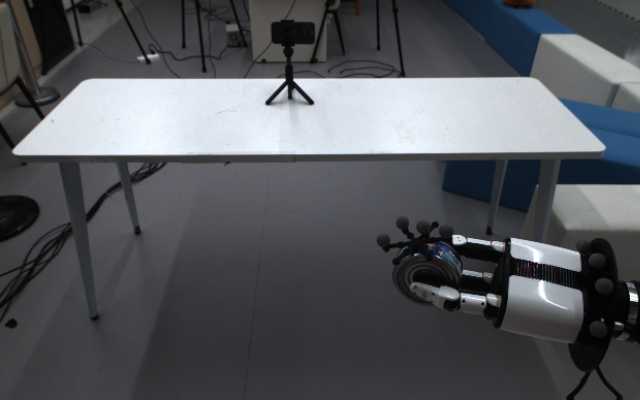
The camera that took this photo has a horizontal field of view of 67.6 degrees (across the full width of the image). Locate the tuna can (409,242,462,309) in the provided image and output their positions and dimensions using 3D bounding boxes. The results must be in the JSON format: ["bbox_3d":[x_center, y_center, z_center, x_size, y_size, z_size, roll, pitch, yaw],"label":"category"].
[{"bbox_3d":[0.139,0.091,0.616,0.085,0.085,0.034,11,34,13],"label":"tuna can"}]
